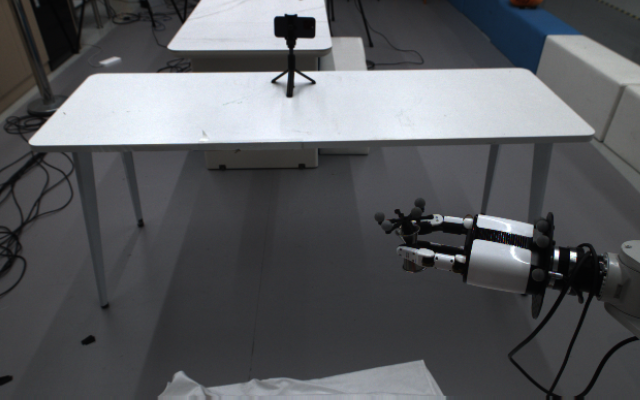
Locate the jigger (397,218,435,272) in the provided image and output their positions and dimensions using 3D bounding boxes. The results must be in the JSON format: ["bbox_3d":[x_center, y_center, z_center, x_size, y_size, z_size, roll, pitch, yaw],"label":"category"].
[{"bbox_3d":[0.148,0.077,0.779,0.043,0.071,0.043,-14,21,6],"label":"jigger"}]
